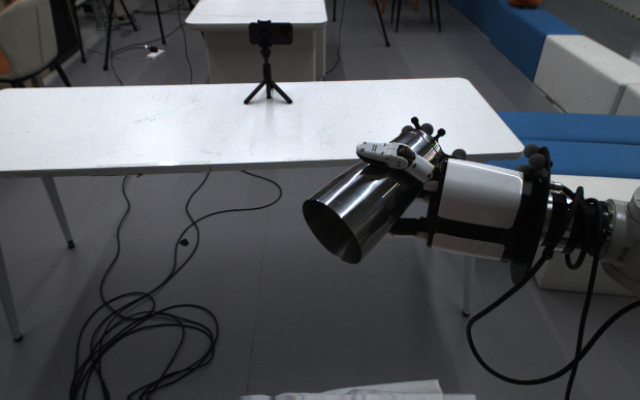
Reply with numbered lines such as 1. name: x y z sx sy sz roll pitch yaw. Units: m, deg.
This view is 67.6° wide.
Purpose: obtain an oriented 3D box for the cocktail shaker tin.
1. cocktail shaker tin: 0.072 -0.017 0.578 0.170 0.093 0.093 -38 50 -24
